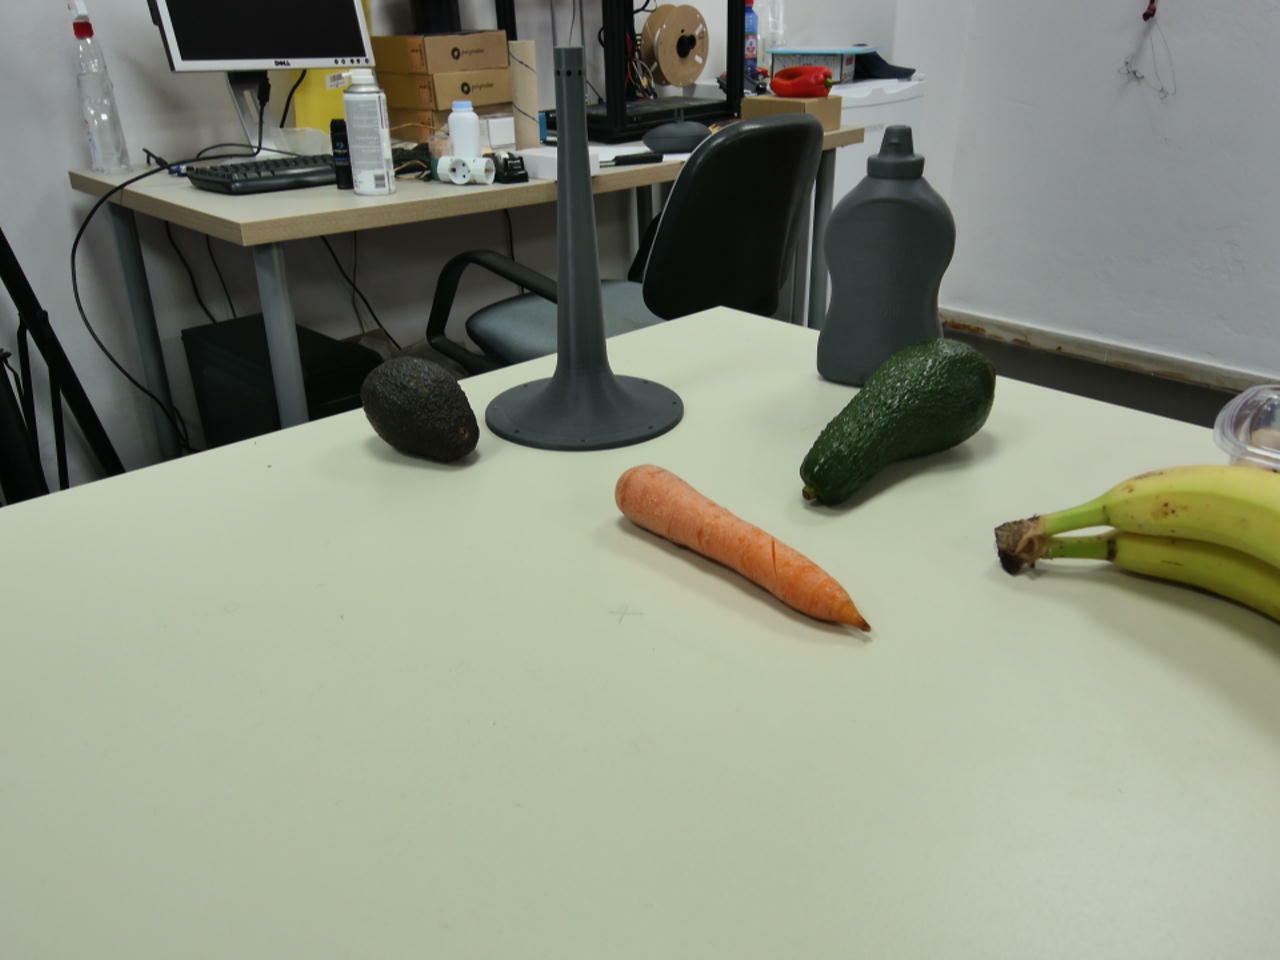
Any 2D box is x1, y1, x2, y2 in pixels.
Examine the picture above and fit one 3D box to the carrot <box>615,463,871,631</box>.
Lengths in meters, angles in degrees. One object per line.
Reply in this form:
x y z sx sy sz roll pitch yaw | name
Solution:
0.056 0.033 0.579 0.039 0.041 0.196 -19 30 -38 | carrot
